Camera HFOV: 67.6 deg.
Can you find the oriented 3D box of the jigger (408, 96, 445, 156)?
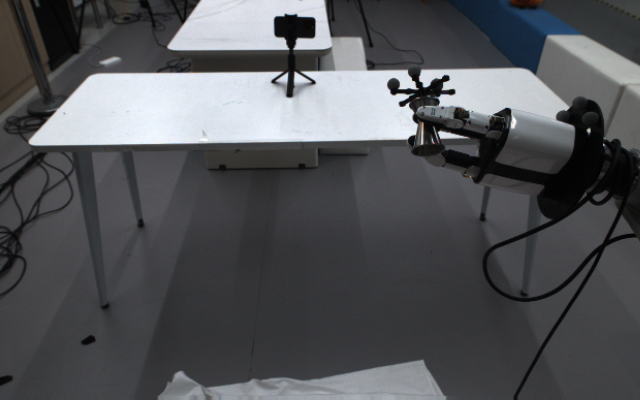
[{"bbox_3d":[0.140,-0.099,0.637,0.043,0.043,0.071,0,75,-3],"label":"jigger"}]
